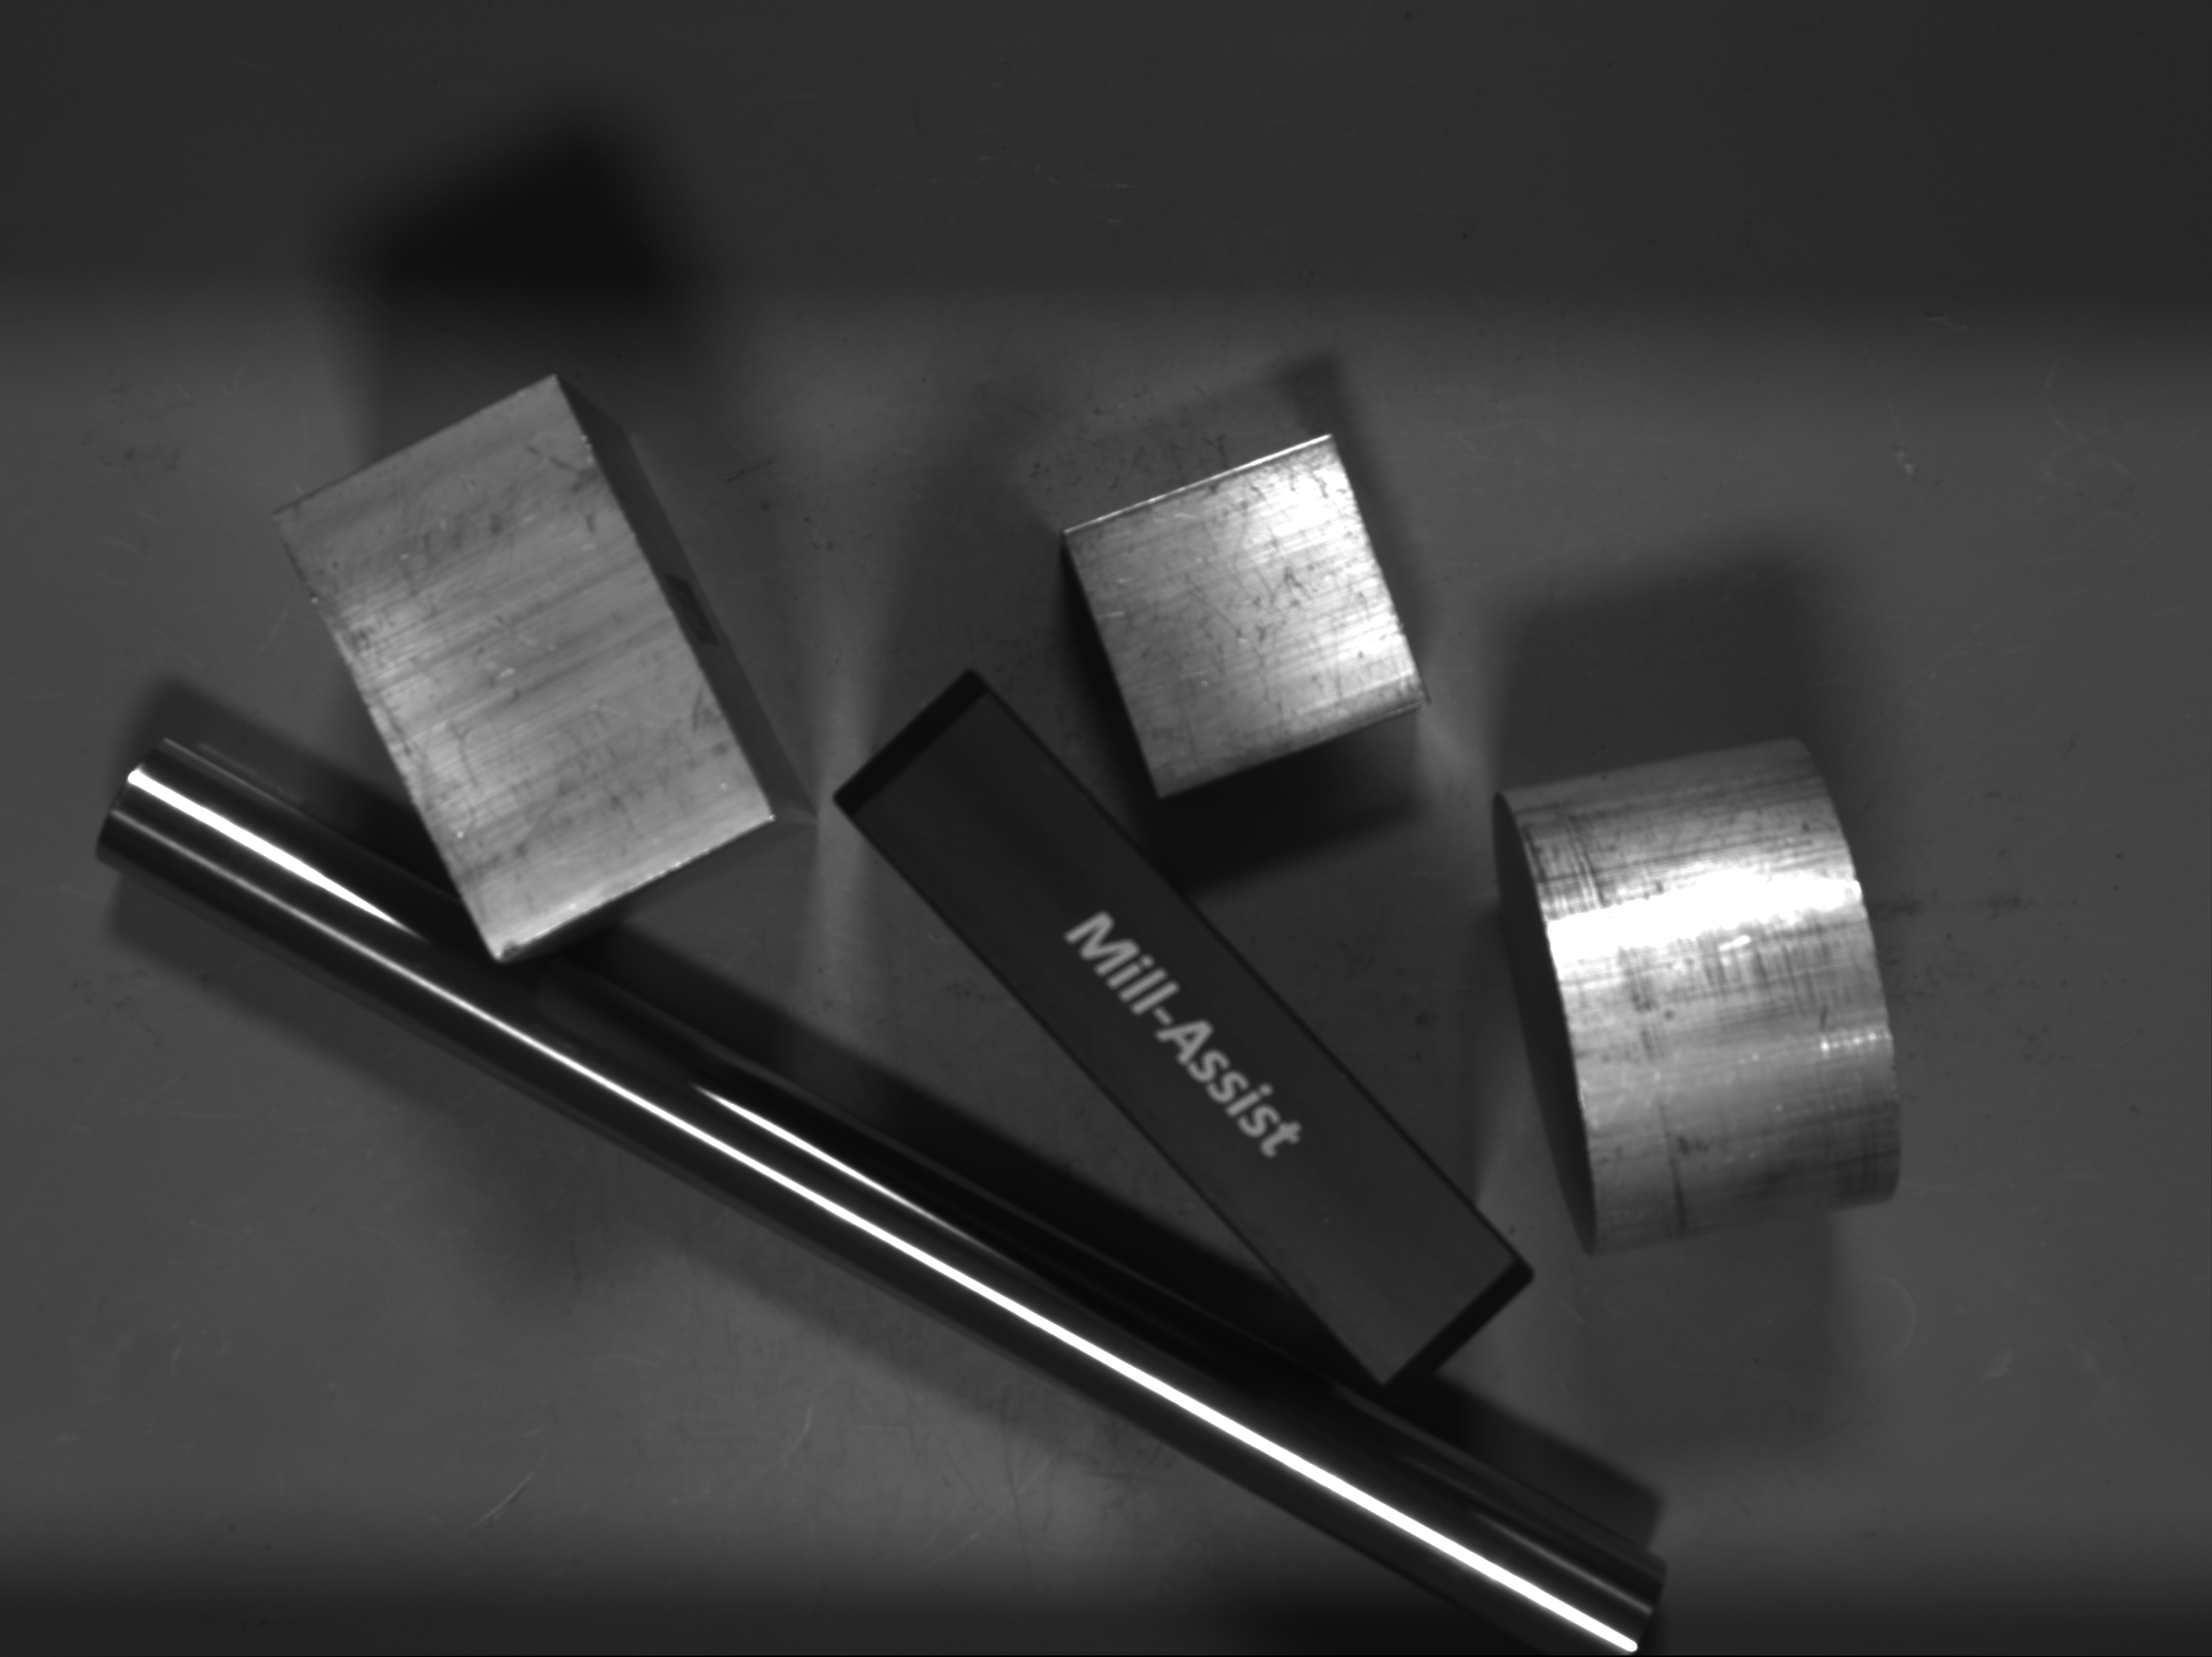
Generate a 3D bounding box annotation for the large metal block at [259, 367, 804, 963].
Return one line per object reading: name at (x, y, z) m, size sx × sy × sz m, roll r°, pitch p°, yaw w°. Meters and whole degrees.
large metal block at (-0.093, -0.026, 0.616) m, size 0.050 × 0.080 × 0.080 m, roll -26°, pitch 90°, yaw 0°

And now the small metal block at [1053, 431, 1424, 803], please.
small metal block at (0.023, -0.036, 0.643) m, size 0.050 × 0.025 × 0.050 m, roll -20°, pitch 90°, yaw 0°

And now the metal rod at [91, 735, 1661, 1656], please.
metal rod at (-0.040, 0.067, 0.644) m, size 0.300 × 0.025 × 0.025 m, roll 29°, pitch 90°, yaw 0°

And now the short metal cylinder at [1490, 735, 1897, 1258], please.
short metal cylinder at (0.097, 0.028, 0.617) m, size 0.050 × 0.080 × 0.080 m, roll -12°, pitch 90°, yaw 1°

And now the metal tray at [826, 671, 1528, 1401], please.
metal tray at (0.011, 0.033, 0.611) m, size 0.030 × 0.090 × 0.130 m, roll -43°, pitch 90°, yaw -1°
